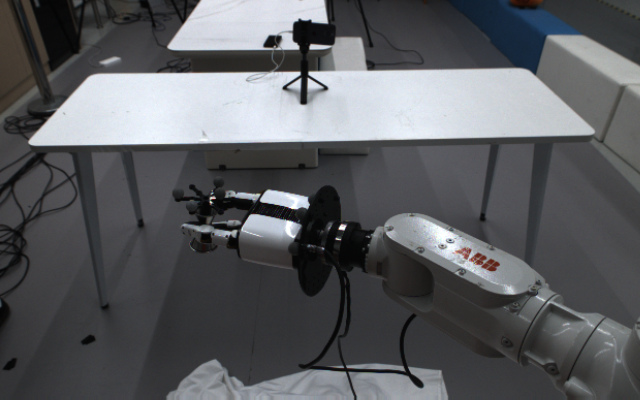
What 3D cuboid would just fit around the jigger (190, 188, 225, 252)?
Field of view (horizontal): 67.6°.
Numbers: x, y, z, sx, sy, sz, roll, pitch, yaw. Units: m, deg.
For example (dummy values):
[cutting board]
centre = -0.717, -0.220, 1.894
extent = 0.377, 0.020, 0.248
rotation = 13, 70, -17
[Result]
[jigger]
centre = -0.178, 0.041, 0.747
extent = 0.043, 0.071, 0.043
rotation = 8, 31, -5
